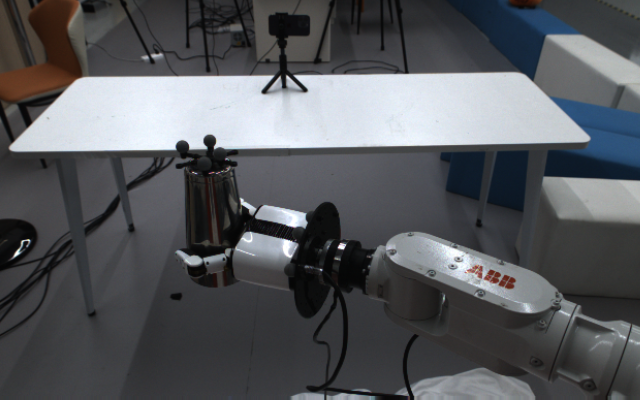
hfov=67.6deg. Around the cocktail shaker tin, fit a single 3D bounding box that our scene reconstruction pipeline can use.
[{"bbox_3d":[-0.149,0.027,0.685,0.093,0.170,0.093,1,28,0],"label":"cocktail shaker tin"}]
